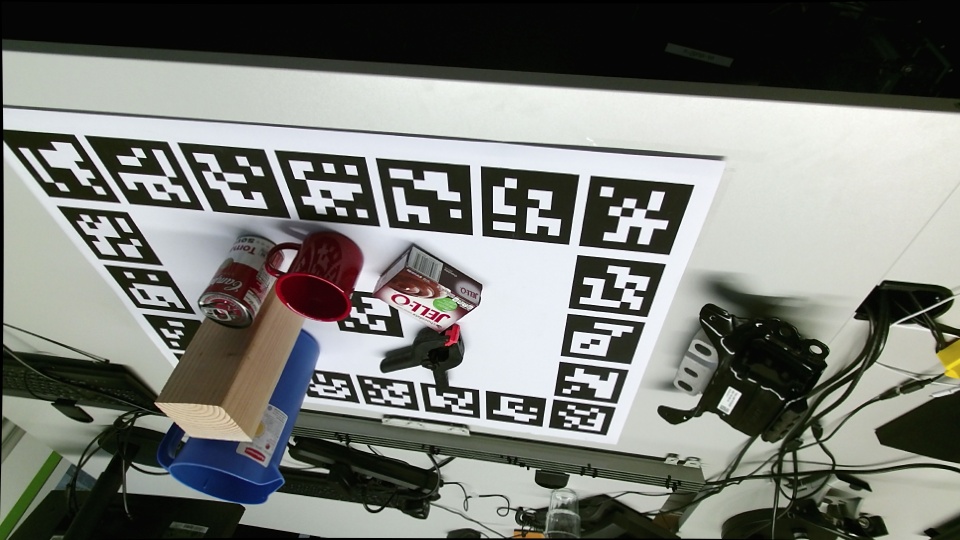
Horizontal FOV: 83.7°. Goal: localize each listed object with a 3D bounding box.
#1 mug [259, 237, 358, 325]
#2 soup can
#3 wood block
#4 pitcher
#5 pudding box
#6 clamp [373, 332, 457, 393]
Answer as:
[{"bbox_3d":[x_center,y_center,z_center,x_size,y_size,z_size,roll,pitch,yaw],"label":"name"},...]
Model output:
[{"bbox_3d":[-0.212,0.008,0.663,0.117,0.081,0.093,30,136,-21],"label":"mug"},{"bbox_3d":[-0.306,0.021,0.679,0.068,0.101,0.068,5,134,5],"label":"soup can"},{"bbox_3d":[-0.328,0.119,0.710,0.090,0.205,0.091,5,137,11],"label":"wood block"},{"bbox_3d":[-0.353,0.212,0.790,0.189,0.241,0.133,2,138,4],"label":"pitcher"},{"bbox_3d":[-0.067,0.035,0.700,0.114,0.038,0.090,31,130,-22],"label":"pudding box"},{"bbox_3d":[-0.085,0.141,0.822,0.122,0.036,0.165,30,133,-10],"label":"clamp"}]
